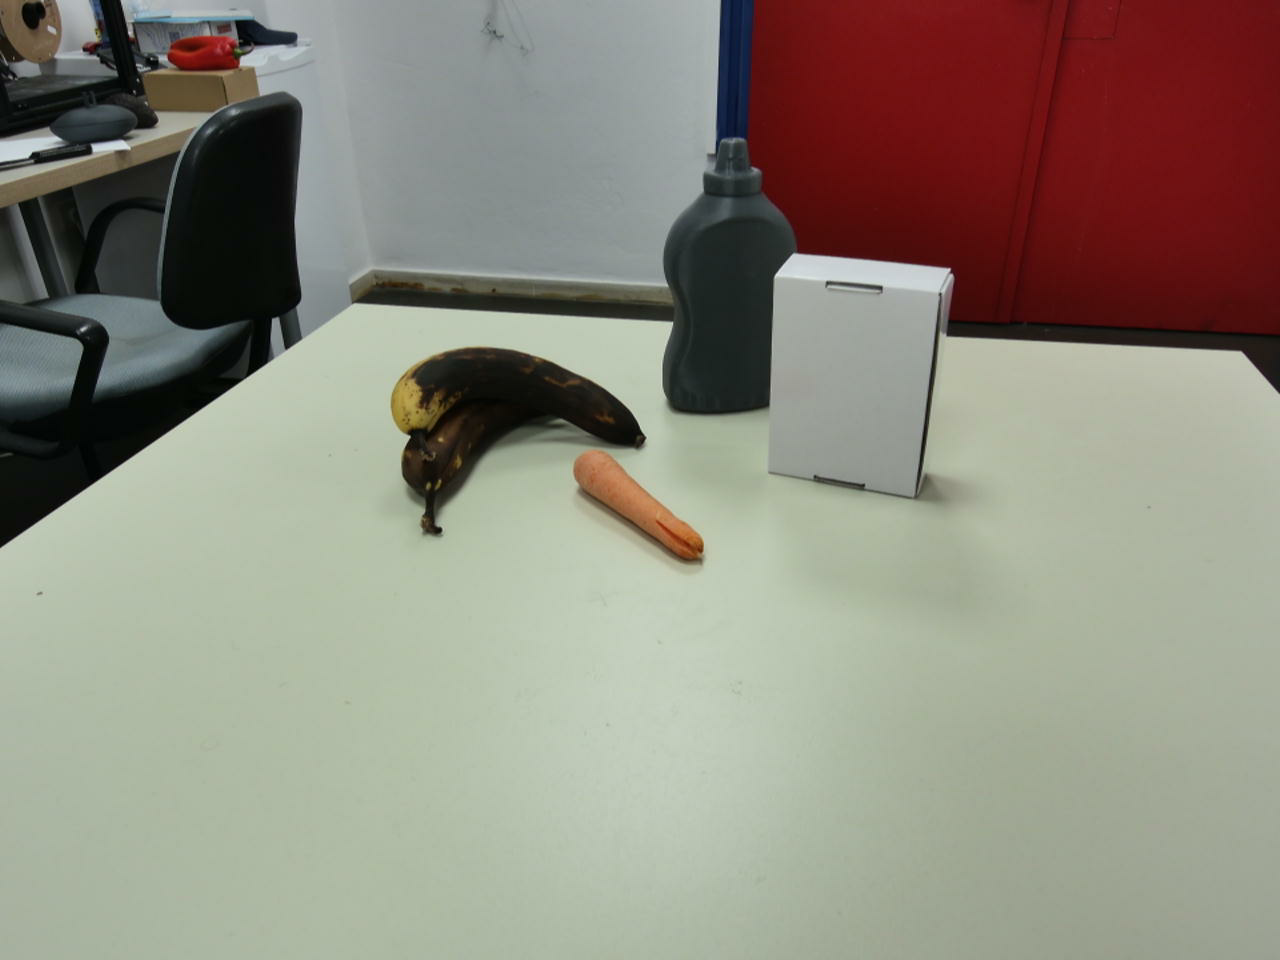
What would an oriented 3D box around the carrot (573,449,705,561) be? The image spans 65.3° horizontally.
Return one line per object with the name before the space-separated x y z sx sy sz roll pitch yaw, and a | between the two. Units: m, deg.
carrot | -0.003 0.013 0.647 0.030 0.032 0.136 -16 30 -29
